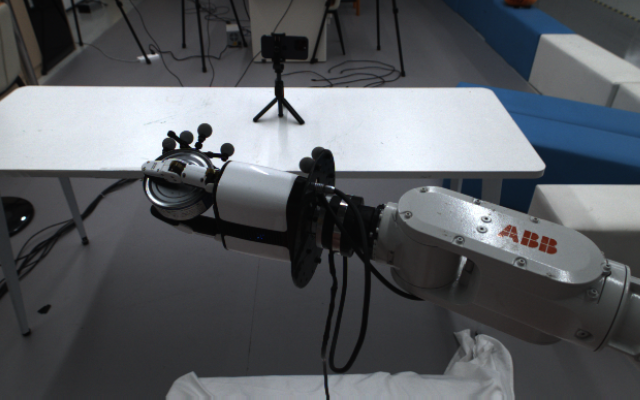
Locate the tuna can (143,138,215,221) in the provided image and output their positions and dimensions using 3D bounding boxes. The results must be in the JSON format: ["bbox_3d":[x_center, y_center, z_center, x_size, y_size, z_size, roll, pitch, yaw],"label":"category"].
[{"bbox_3d":[-0.167,-0.019,0.588,0.085,0.034,0.085,-3,57,4],"label":"tuna can"}]
